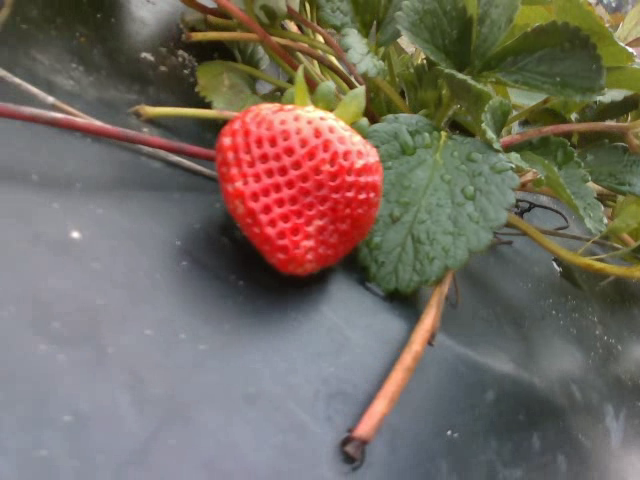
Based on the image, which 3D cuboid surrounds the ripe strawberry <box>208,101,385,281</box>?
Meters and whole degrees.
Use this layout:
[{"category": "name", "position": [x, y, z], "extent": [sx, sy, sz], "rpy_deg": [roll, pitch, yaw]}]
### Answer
[{"category": "ripe strawberry", "position": [-0.005, -0.016, 0.189], "extent": [0.061, 0.065, 0.049], "rpy_deg": [28, -29, -36]}]
